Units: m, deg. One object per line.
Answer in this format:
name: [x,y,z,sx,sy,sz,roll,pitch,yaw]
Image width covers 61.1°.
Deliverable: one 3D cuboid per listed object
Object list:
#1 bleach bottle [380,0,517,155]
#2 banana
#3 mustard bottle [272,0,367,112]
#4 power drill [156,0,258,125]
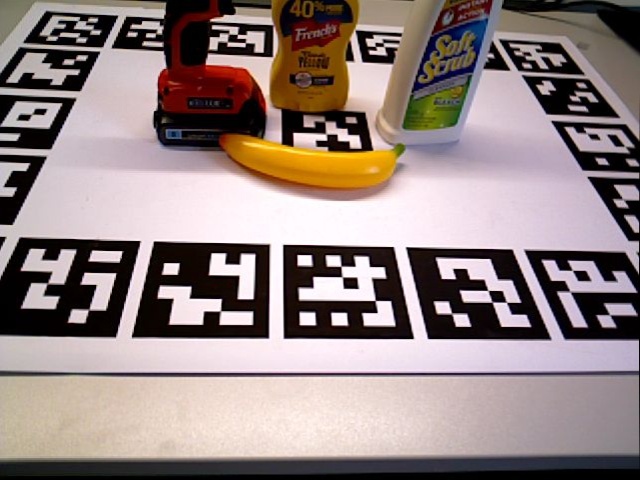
bleach bottle: [0.135,-0.206,0.545,0.101,0.257,0.067,-4,48,-12]
banana: [0.007,-0.081,0.546,0.196,0.040,0.073,3,50,-2]
mustard bottle: [0.001,-0.236,0.587,0.095,0.196,0.057,3,46,-7]
power drill: [-0.094,-0.208,0.523,0.183,0.191,0.056,1,40,-10]
